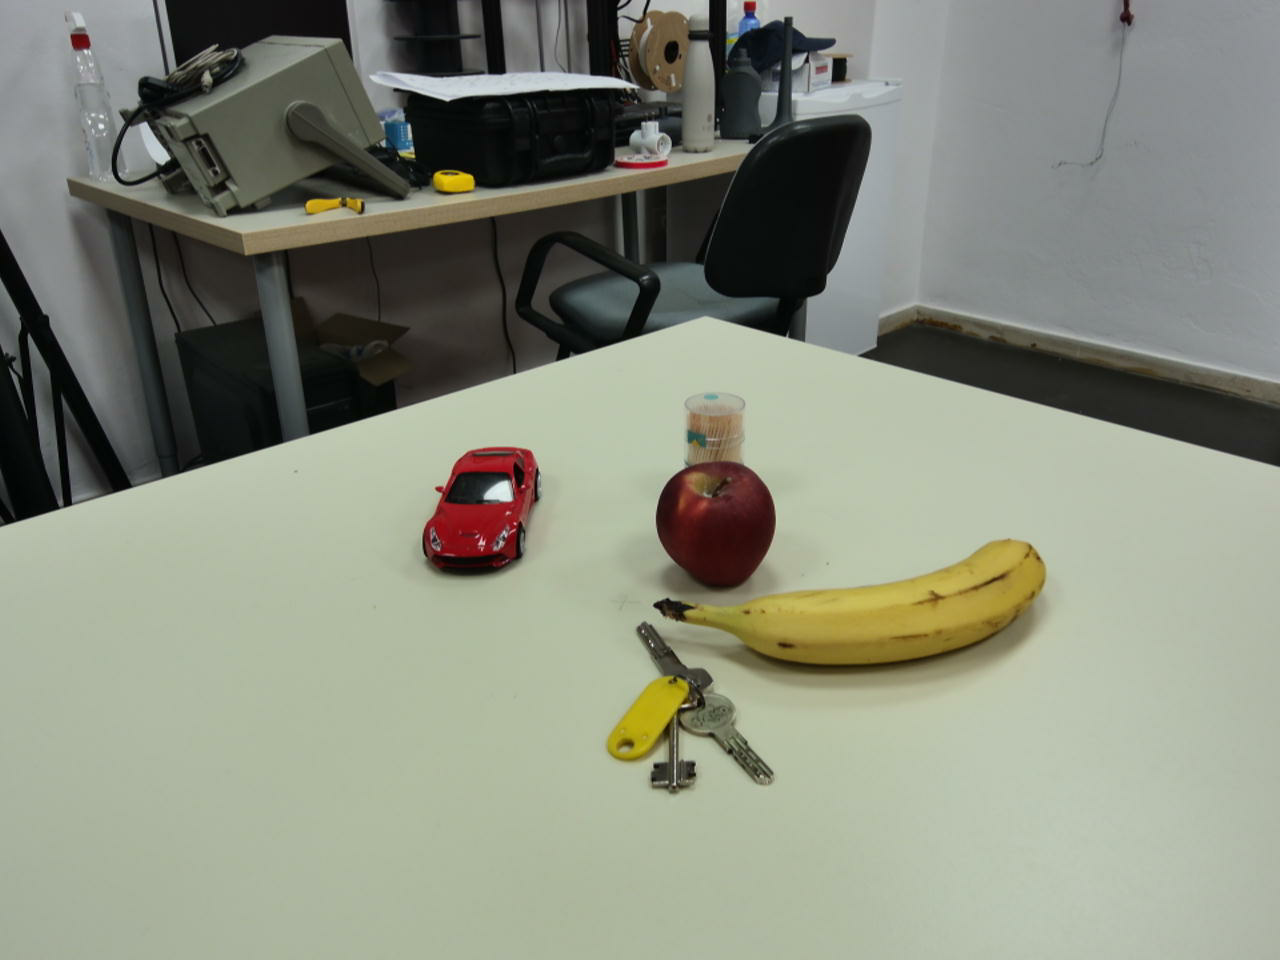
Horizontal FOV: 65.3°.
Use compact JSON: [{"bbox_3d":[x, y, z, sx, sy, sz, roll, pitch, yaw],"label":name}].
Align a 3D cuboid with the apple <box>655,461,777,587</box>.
[{"bbox_3d":[0.045,0.025,0.578,0.070,0.072,0.070,1,24,0],"label":"apple"}]
